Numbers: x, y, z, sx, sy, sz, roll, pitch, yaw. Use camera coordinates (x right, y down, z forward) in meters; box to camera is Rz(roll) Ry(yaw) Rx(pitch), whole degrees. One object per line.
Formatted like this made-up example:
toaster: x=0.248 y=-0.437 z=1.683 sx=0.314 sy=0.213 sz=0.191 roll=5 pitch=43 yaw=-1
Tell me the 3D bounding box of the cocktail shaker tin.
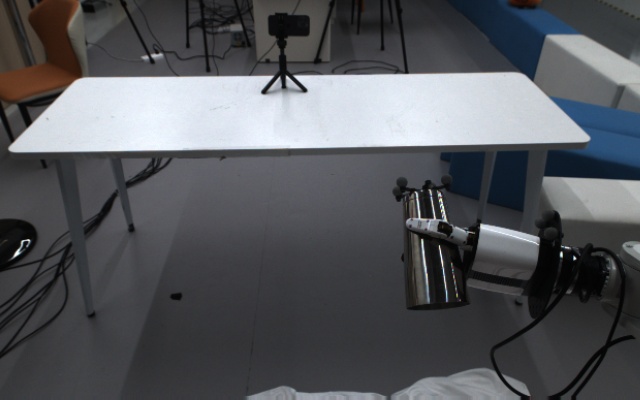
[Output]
cocktail shaker tin: x=0.166 y=0.074 z=0.727 sx=0.093 sy=0.093 sz=0.170 roll=-2 pitch=70 yaw=-5
